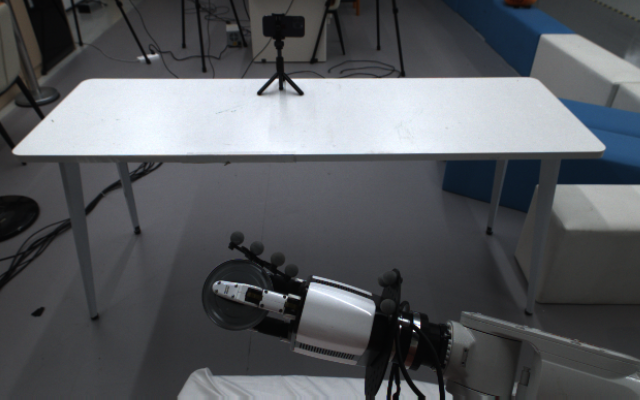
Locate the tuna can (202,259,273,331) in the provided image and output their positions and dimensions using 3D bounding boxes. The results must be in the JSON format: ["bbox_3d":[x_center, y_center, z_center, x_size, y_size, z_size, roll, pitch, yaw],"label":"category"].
[{"bbox_3d":[-0.097,0.117,0.594,0.085,0.034,0.085,1,75,-4],"label":"tuna can"}]
